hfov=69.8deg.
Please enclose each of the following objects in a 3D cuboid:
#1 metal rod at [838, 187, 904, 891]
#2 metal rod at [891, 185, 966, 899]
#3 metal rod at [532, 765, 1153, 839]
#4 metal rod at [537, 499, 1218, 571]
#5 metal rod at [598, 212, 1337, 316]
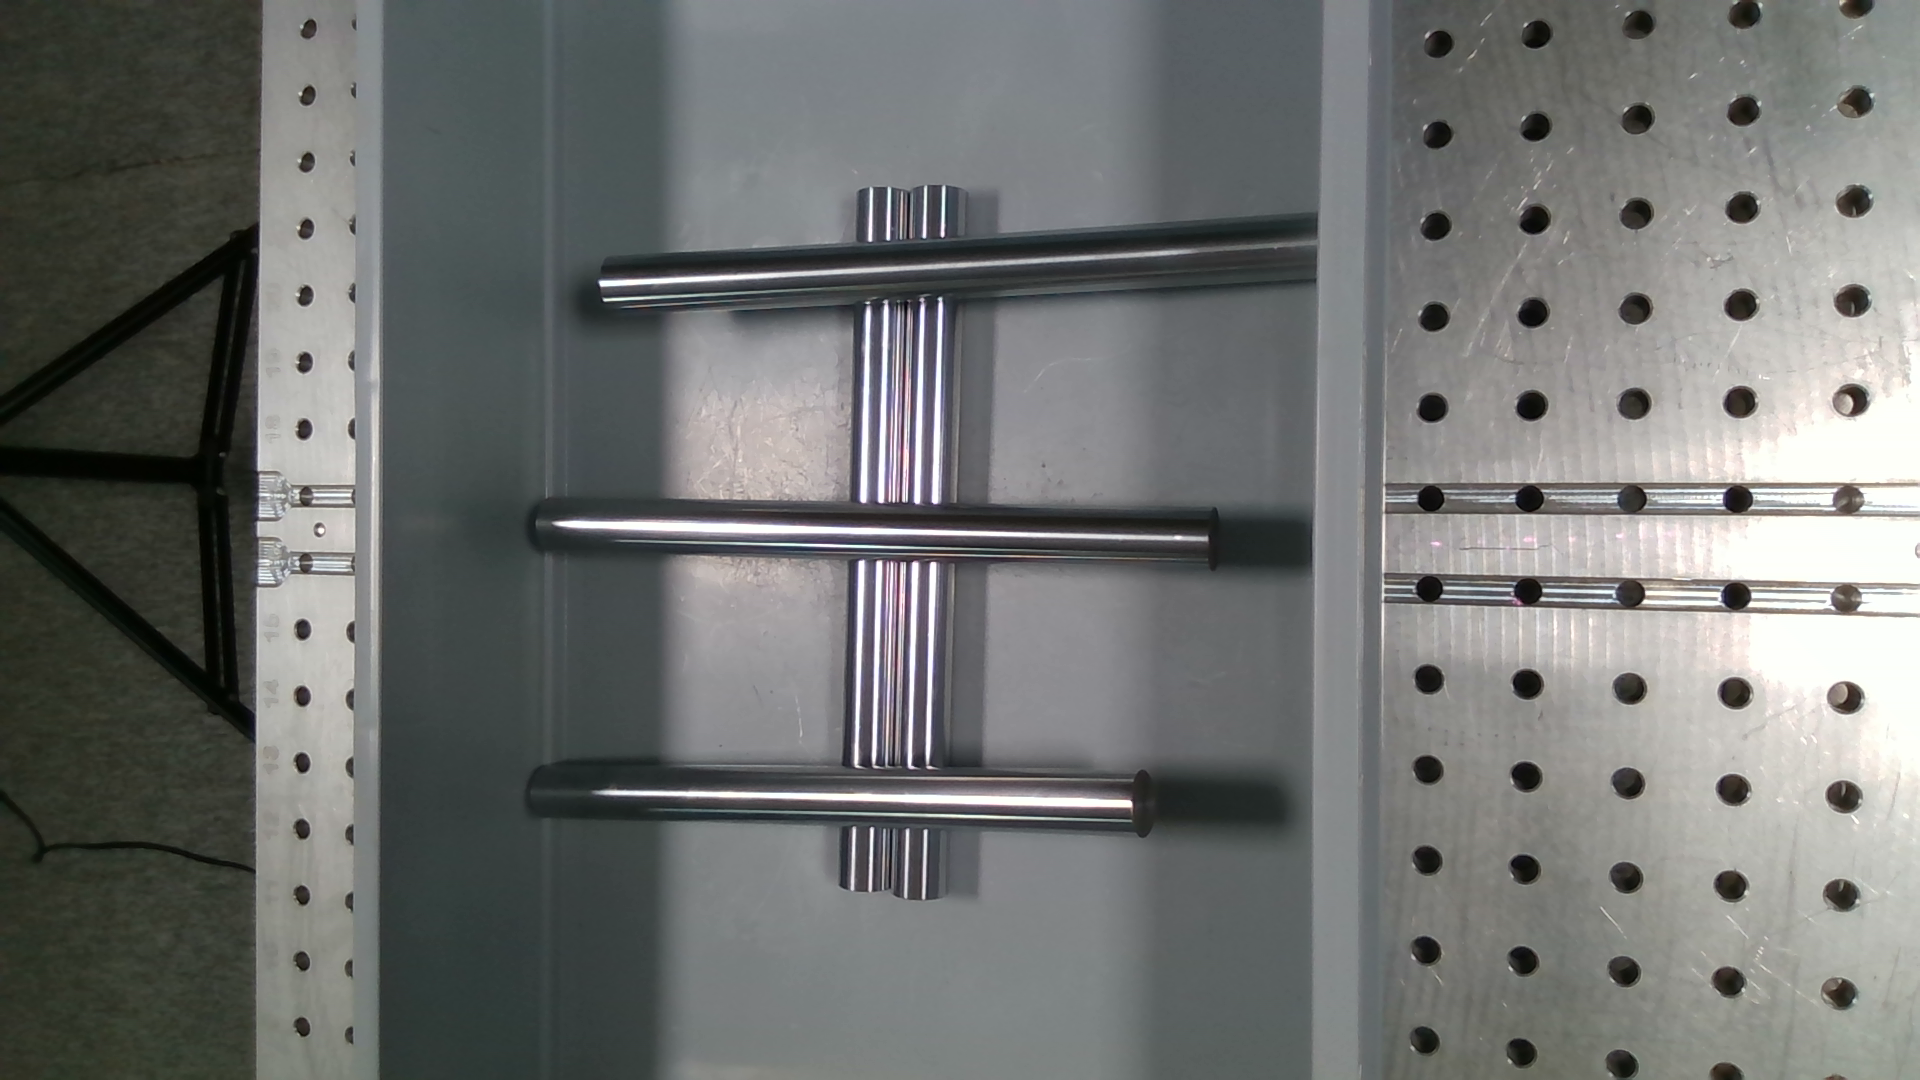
[{"bbox_3d":[-0.037,0.000,0.599,0.025,0.025,0.300,2,91,20],"label":"metal rod"},{"bbox_3d":[-0.014,0.001,0.590,0.025,0.025,0.300,2,91,20],"label":"metal rod"},{"bbox_3d":[-0.064,0.109,0.585,0.300,0.025,0.025,-5,89,29],"label":"metal rod"},{"bbox_3d":[-0.044,-0.004,0.574,0.300,0.025,0.025,1,91,20],"label":"metal rod"},{"bbox_3d":[-0.003,-0.110,0.559,0.300,0.025,0.025,-1,90,12],"label":"metal rod"}]
